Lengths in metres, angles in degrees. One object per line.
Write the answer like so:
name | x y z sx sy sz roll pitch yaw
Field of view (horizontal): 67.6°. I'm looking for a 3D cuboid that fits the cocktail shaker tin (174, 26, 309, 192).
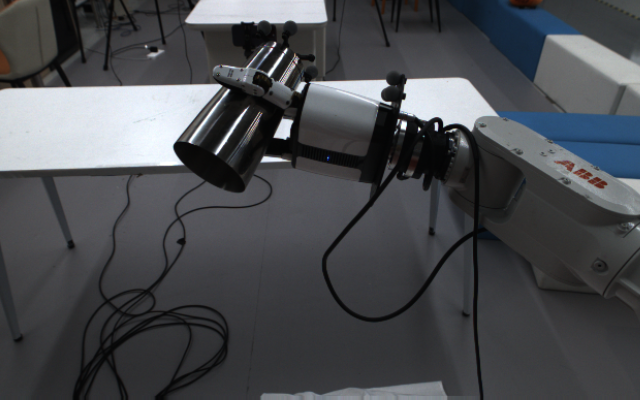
cocktail shaker tin | -0.083 -0.107 0.568 0.093 0.093 0.170 18 66 21
